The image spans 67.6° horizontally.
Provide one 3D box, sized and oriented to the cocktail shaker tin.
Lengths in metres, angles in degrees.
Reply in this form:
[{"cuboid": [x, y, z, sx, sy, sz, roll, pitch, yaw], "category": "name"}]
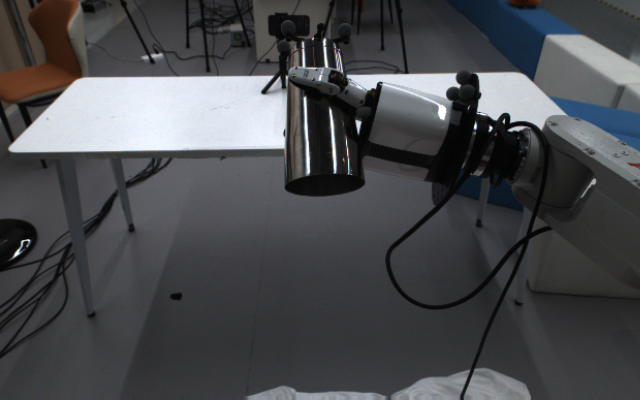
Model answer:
[{"cuboid": [0.001, -0.098, 0.569, 0.093, 0.093, 0.170, -3, 76, -7], "category": "cocktail shaker tin"}]
